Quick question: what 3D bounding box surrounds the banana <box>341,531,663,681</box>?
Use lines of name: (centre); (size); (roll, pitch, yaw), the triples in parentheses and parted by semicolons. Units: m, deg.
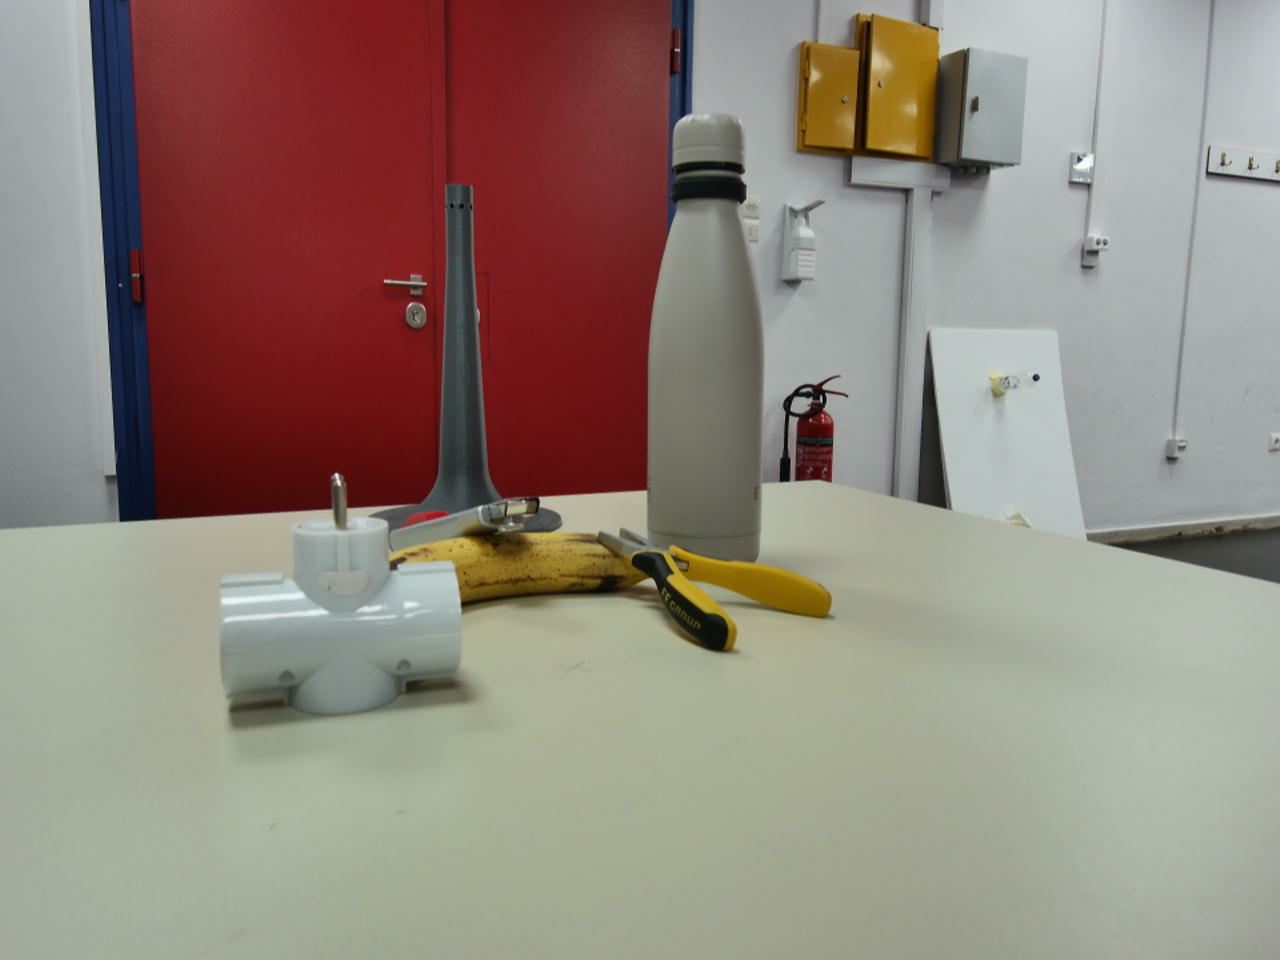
banana: (-0.078, 0.052, 0.521); (0.097, 0.038, 0.186); (5, 8, 37)
